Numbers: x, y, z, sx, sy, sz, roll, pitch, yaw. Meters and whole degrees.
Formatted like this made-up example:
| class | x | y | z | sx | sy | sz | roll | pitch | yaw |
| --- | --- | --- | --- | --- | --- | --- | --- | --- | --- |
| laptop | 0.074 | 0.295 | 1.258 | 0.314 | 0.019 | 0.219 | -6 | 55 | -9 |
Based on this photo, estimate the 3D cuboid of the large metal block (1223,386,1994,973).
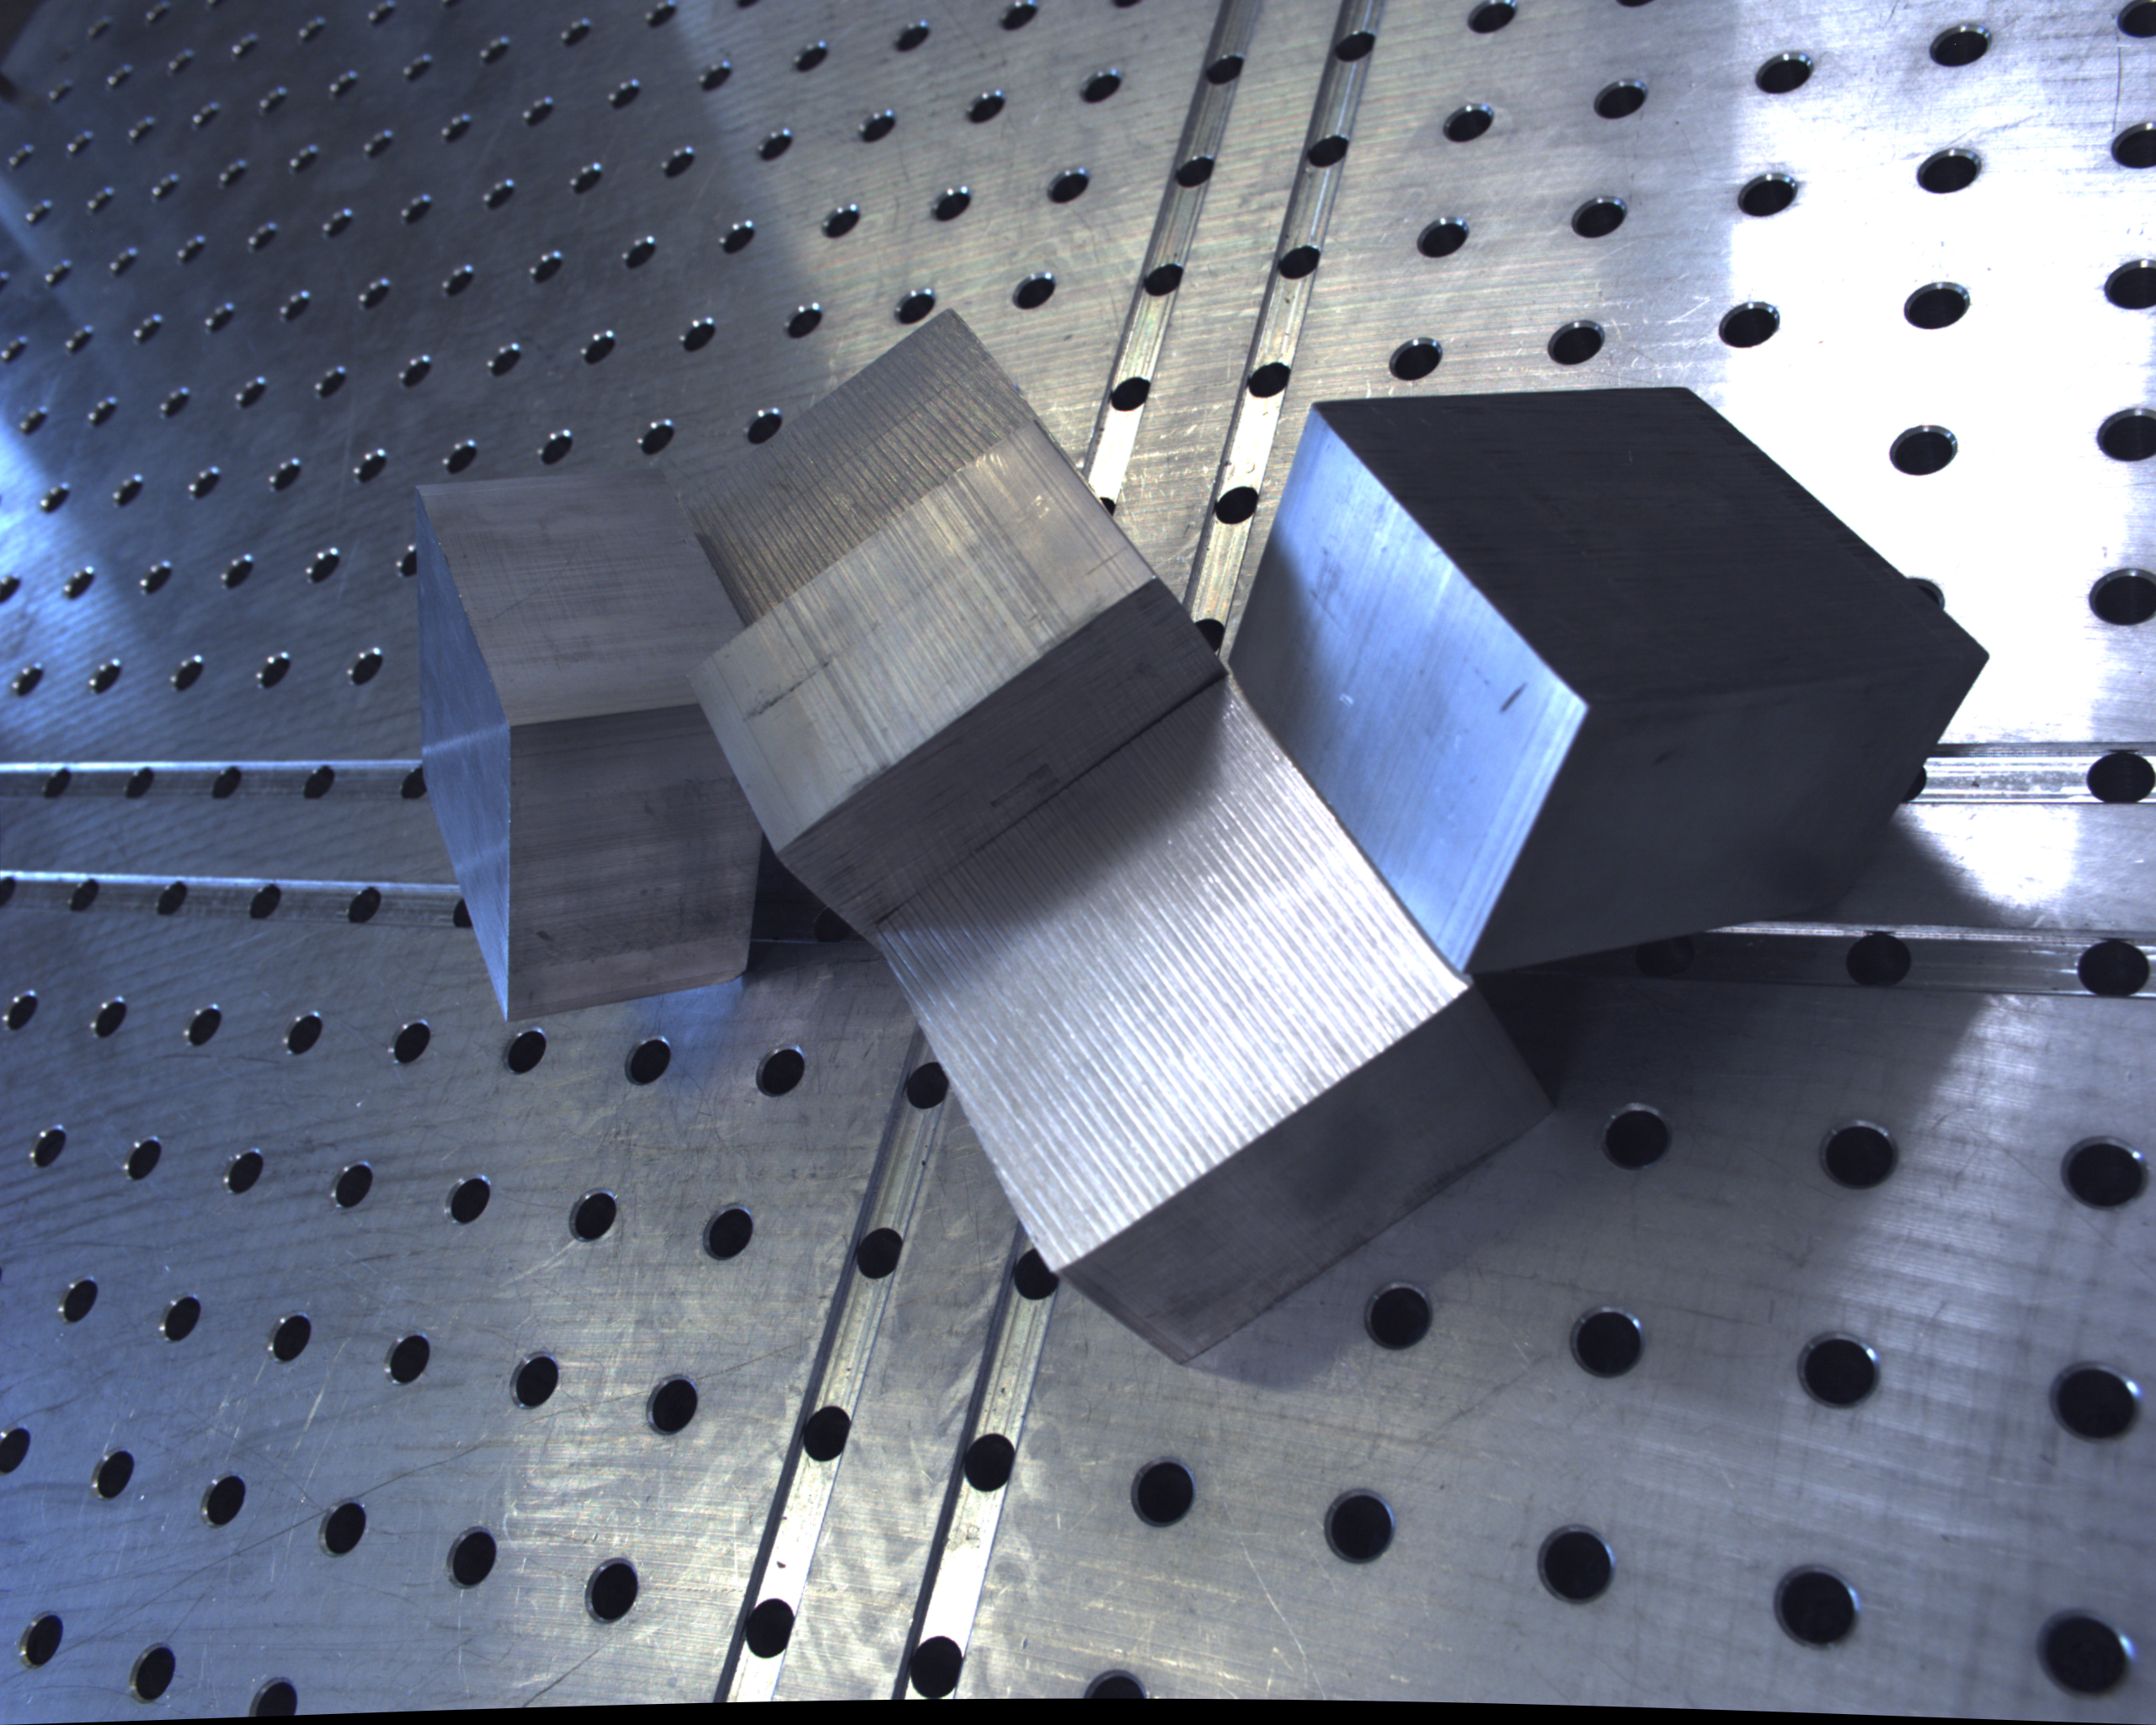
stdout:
| class | x | y | z | sx | sy | sz | roll | pitch | yaw |
| --- | --- | --- | --- | --- | --- | --- | --- | --- | --- |
| large metal block | 0.083 | -0.034 | 0.343 | 0.081 | 0.050 | 0.080 | -9 | 47 | -26 |

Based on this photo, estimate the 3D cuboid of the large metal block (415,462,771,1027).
| class | x | y | z | sx | sy | sz | roll | pitch | yaw |
| --- | --- | --- | --- | --- | --- | --- | --- | --- | --- |
| large metal block | -0.103 | -0.026 | 0.435 | 0.050 | 0.079 | 0.080 | -10 | 47 | -25 |

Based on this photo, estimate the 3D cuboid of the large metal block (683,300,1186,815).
| class | x | y | z | sx | sy | sz | roll | pitch | yaw |
| --- | --- | --- | --- | --- | --- | --- | --- | --- | --- |
| large metal block | -0.032 | -0.059 | 0.446 | 0.080 | 0.050 | 0.080 | -37 | 52 | 5 |

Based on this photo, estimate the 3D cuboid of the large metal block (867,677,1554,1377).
| class | x | y | z | sx | sy | sz | roll | pitch | yaw |
| --- | --- | --- | --- | --- | --- | --- | --- | --- | --- |
| large metal block | 0.022 | 0.028 | 0.364 | 0.080 | 0.050 | 0.080 | -35 | 50 | 5 |

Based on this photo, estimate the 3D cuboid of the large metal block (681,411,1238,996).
| class | x | y | z | sx | sy | sz | roll | pitch | yaw |
| --- | --- | --- | --- | --- | --- | --- | --- | --- | --- |
| large metal block | -0.013 | -0.023 | 0.394 | 0.080 | 0.080 | 0.050 | -36 | 52 | 4 |
